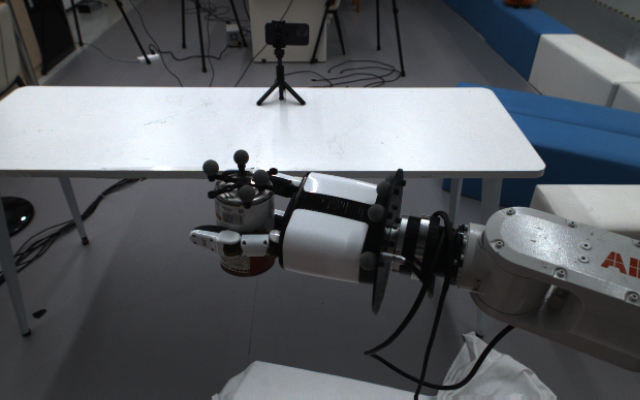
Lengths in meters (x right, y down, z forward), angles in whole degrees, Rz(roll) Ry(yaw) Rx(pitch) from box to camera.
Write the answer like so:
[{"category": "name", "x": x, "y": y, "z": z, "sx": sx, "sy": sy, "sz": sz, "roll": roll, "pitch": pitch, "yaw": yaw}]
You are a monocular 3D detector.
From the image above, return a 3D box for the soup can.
[{"category": "soup can", "x": -0.084, "y": 0.029, "z": 0.558, "sx": 0.067, "sy": 0.101, "sz": 0.067, "roll": 2, "pitch": 32, "yaw": -1}]
